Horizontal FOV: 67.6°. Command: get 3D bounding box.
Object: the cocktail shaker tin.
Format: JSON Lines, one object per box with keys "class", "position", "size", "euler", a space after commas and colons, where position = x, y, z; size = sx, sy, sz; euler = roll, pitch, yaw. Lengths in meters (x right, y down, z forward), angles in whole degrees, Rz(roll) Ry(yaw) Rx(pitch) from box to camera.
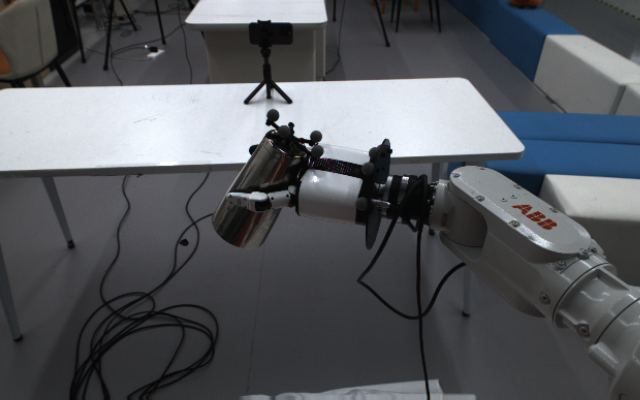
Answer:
{"class": "cocktail shaker tin", "position": [-0.085, -0.022, 0.721], "size": [0.093, 0.170, 0.093], "euler": [26, 32, -17]}
